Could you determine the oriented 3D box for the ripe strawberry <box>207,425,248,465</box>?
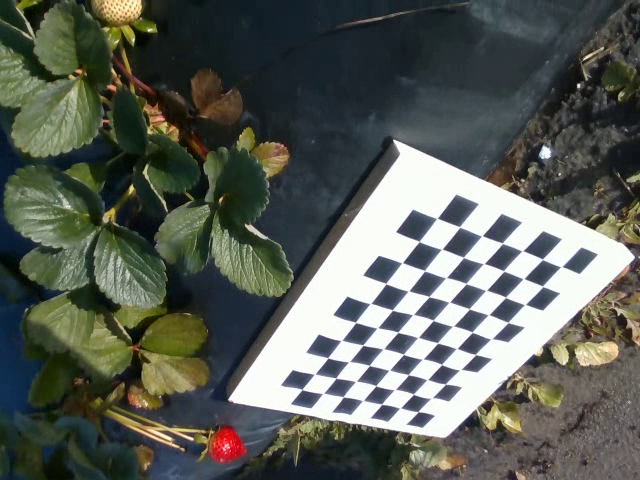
[{"bbox_3d":[-0.087,0.199,0.605,0.044,0.040,0.037,10,38,-7],"label":"ripe strawberry"}]
